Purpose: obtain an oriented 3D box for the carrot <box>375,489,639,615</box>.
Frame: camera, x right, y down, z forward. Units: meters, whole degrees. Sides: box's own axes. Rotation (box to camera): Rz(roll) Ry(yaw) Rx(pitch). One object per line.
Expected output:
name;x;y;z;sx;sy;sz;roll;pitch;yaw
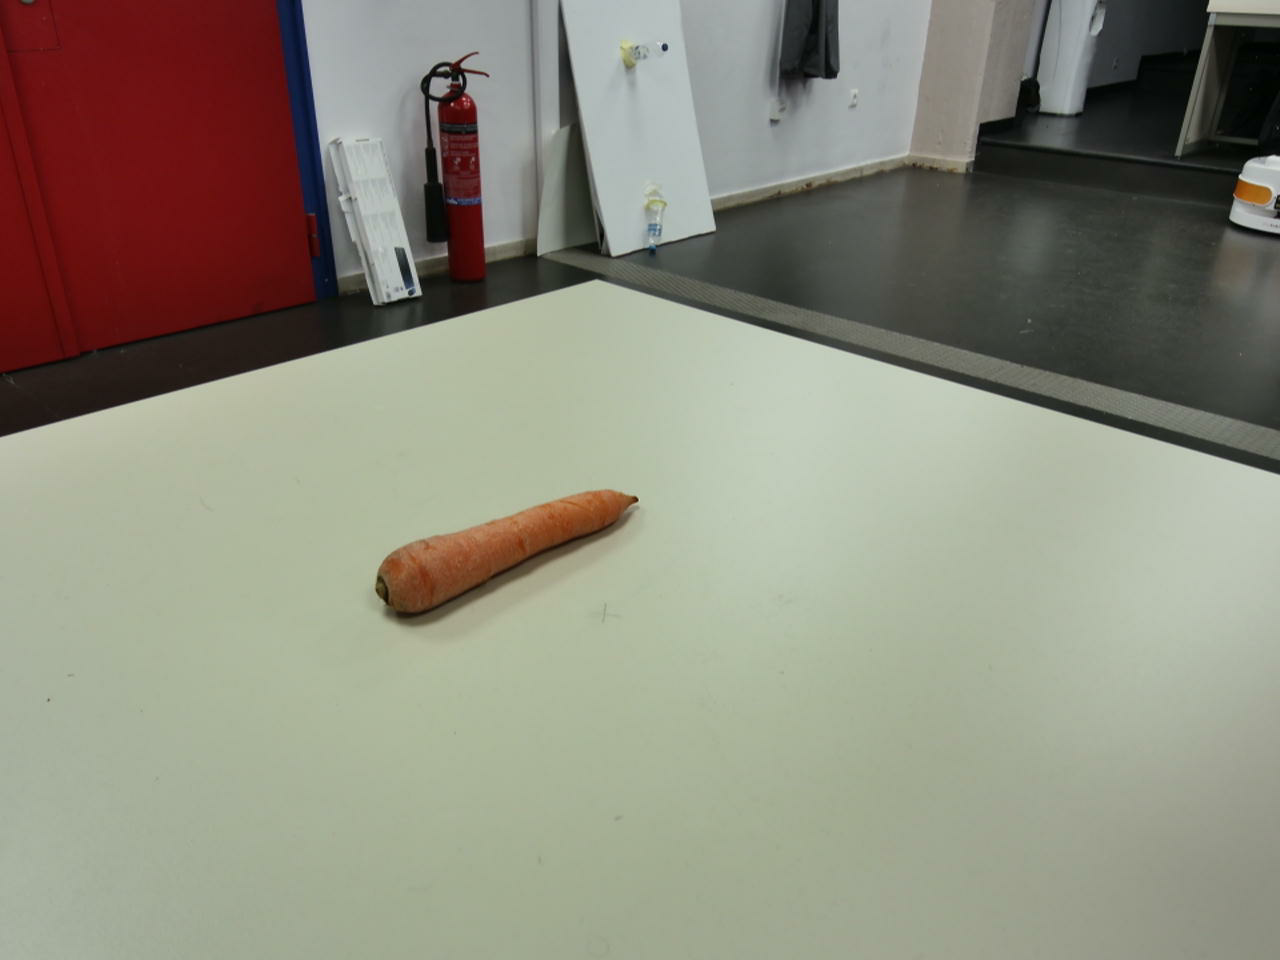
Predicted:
carrot;-0.072;0.031;0.602;0.039;0.041;0.196;22;33;37
